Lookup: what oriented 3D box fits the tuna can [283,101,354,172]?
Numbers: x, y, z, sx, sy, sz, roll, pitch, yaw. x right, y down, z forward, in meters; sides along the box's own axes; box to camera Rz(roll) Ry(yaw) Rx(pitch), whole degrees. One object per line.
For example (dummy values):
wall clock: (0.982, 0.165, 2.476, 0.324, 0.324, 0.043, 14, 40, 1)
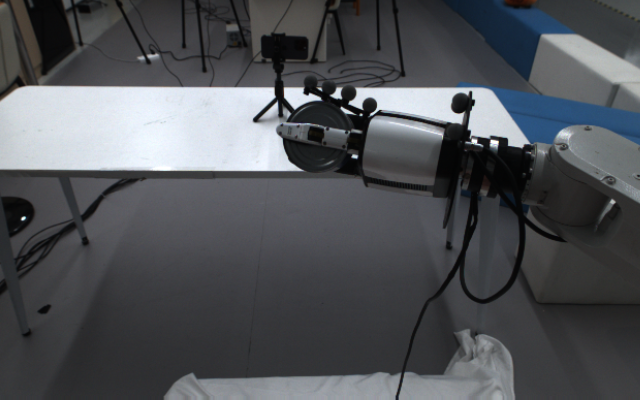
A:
tuna can: (0.002, -0.075, 0.589, 0.085, 0.085, 0.034, 13, 3, 15)
